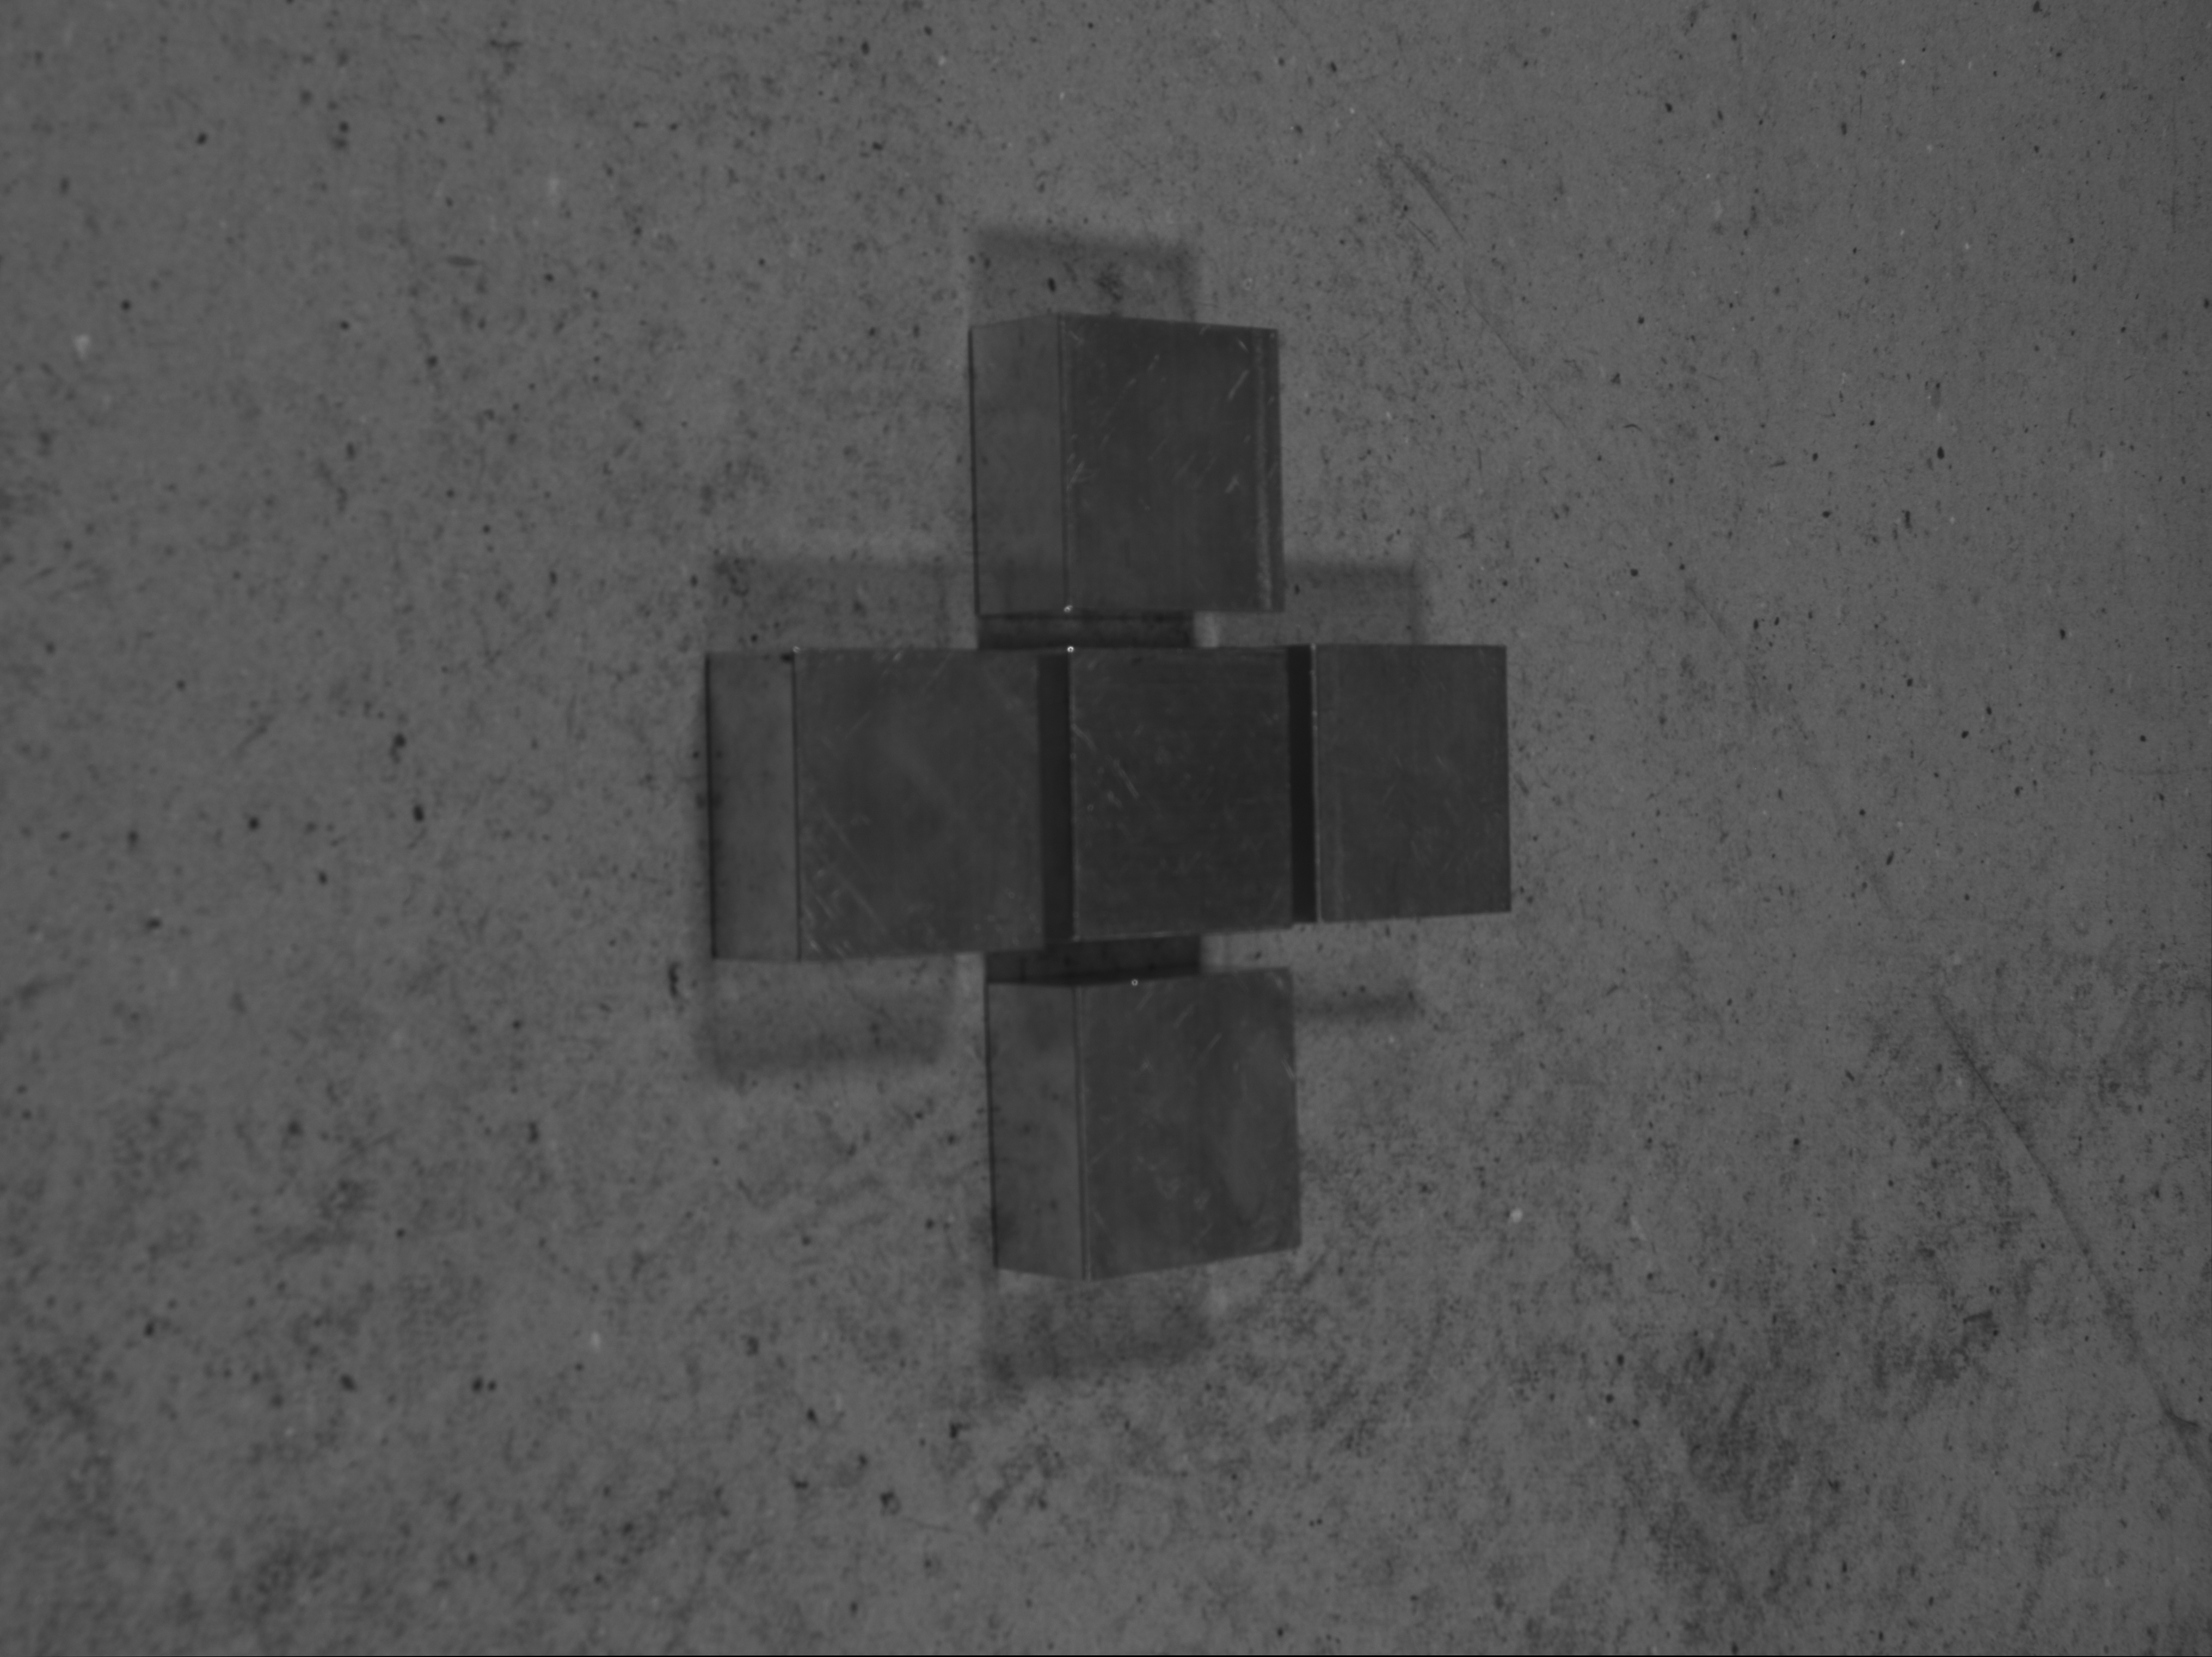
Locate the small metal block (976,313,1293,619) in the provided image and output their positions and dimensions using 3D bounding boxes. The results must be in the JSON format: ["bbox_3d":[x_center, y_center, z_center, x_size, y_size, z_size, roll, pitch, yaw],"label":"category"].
[{"bbox_3d":[0.005,-0.062,0.642,0.050,0.025,0.050,-2,91,-40],"label":"small metal block"}]

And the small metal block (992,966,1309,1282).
[{"bbox_3d":[0.008,0.051,0.644,0.050,0.025,0.050,-3,92,-40],"label":"small metal block"}]

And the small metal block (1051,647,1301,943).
[{"bbox_3d":[0.007,-0.006,0.643,0.050,0.025,0.050,-2,91,-40],"label":"small metal block"}]

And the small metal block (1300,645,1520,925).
[{"bbox_3d":[0.050,-0.008,0.679,0.050,0.025,0.050,-2,91,-40],"label":"small metal block"}]

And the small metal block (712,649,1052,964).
[{"bbox_3d":[-0.037,-0.004,0.607,0.050,0.025,0.050,-2,91,-40],"label":"small metal block"}]
